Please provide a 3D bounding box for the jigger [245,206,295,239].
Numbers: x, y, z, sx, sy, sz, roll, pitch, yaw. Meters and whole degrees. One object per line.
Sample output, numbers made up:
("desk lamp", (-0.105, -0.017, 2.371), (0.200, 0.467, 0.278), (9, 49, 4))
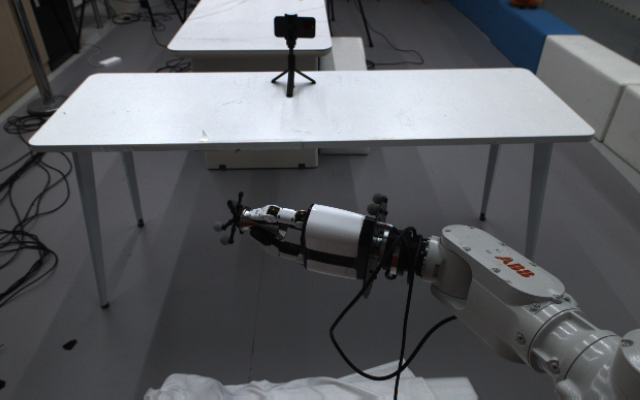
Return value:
("jigger", (-0.085, 0.033, 0.785), (0.071, 0.043, 0.043), (10, 35, 16))
